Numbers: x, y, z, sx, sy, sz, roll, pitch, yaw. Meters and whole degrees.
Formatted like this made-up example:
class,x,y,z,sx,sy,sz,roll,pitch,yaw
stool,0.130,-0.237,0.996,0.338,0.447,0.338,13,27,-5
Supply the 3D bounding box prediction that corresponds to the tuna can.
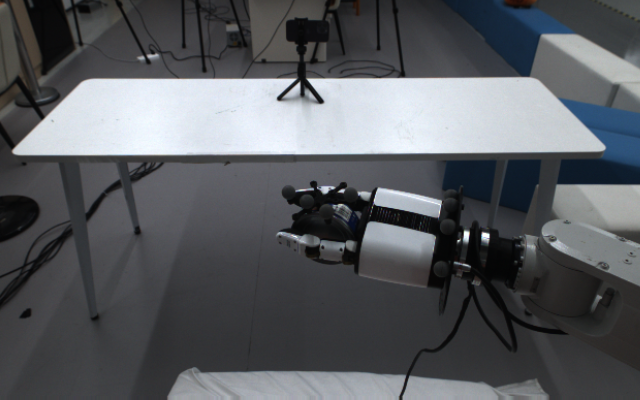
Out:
class,x,y,z,sx,sy,sz,roll,pitch,yaw
tuna can,0.012,0.044,0.612,0.085,0.085,0.034,11,39,13
